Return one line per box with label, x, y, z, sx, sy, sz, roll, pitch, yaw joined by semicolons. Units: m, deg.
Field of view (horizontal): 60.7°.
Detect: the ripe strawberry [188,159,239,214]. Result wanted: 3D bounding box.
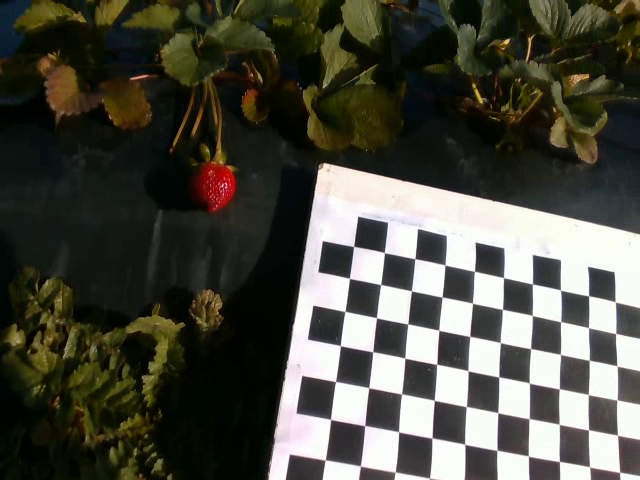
ripe strawberry;-0.077;-0.031;0.370;0.040;0.044;0.037;-8;-28;-13
